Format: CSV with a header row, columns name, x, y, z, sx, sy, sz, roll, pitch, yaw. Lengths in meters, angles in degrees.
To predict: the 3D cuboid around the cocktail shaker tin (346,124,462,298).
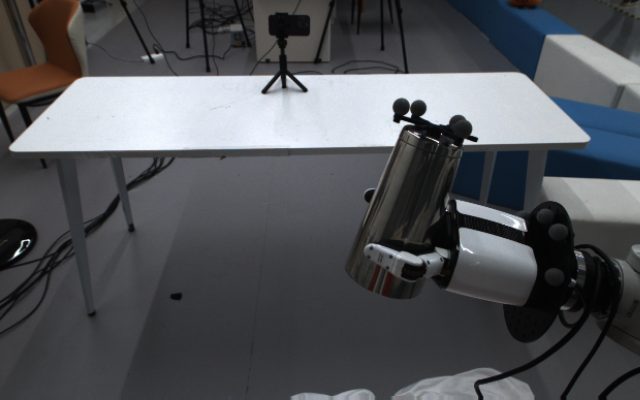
name,x,y,z,sx,sy,sz,roll,pitch,yaw
cocktail shaker tin,0.096,0.011,0.528,0.093,0.170,0.093,14,20,-5
